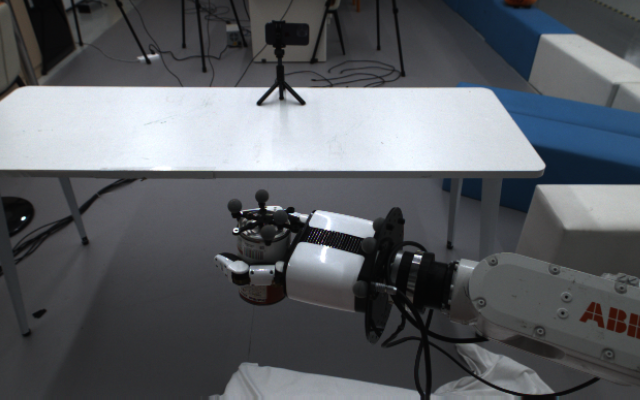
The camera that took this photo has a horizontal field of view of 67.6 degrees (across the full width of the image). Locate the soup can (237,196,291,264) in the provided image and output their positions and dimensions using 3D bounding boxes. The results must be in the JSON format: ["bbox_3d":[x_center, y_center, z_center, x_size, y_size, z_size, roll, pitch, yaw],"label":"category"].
[{"bbox_3d":[-0.069,0.073,0.609,0.067,0.101,0.067,3,30,-2],"label":"soup can"}]
